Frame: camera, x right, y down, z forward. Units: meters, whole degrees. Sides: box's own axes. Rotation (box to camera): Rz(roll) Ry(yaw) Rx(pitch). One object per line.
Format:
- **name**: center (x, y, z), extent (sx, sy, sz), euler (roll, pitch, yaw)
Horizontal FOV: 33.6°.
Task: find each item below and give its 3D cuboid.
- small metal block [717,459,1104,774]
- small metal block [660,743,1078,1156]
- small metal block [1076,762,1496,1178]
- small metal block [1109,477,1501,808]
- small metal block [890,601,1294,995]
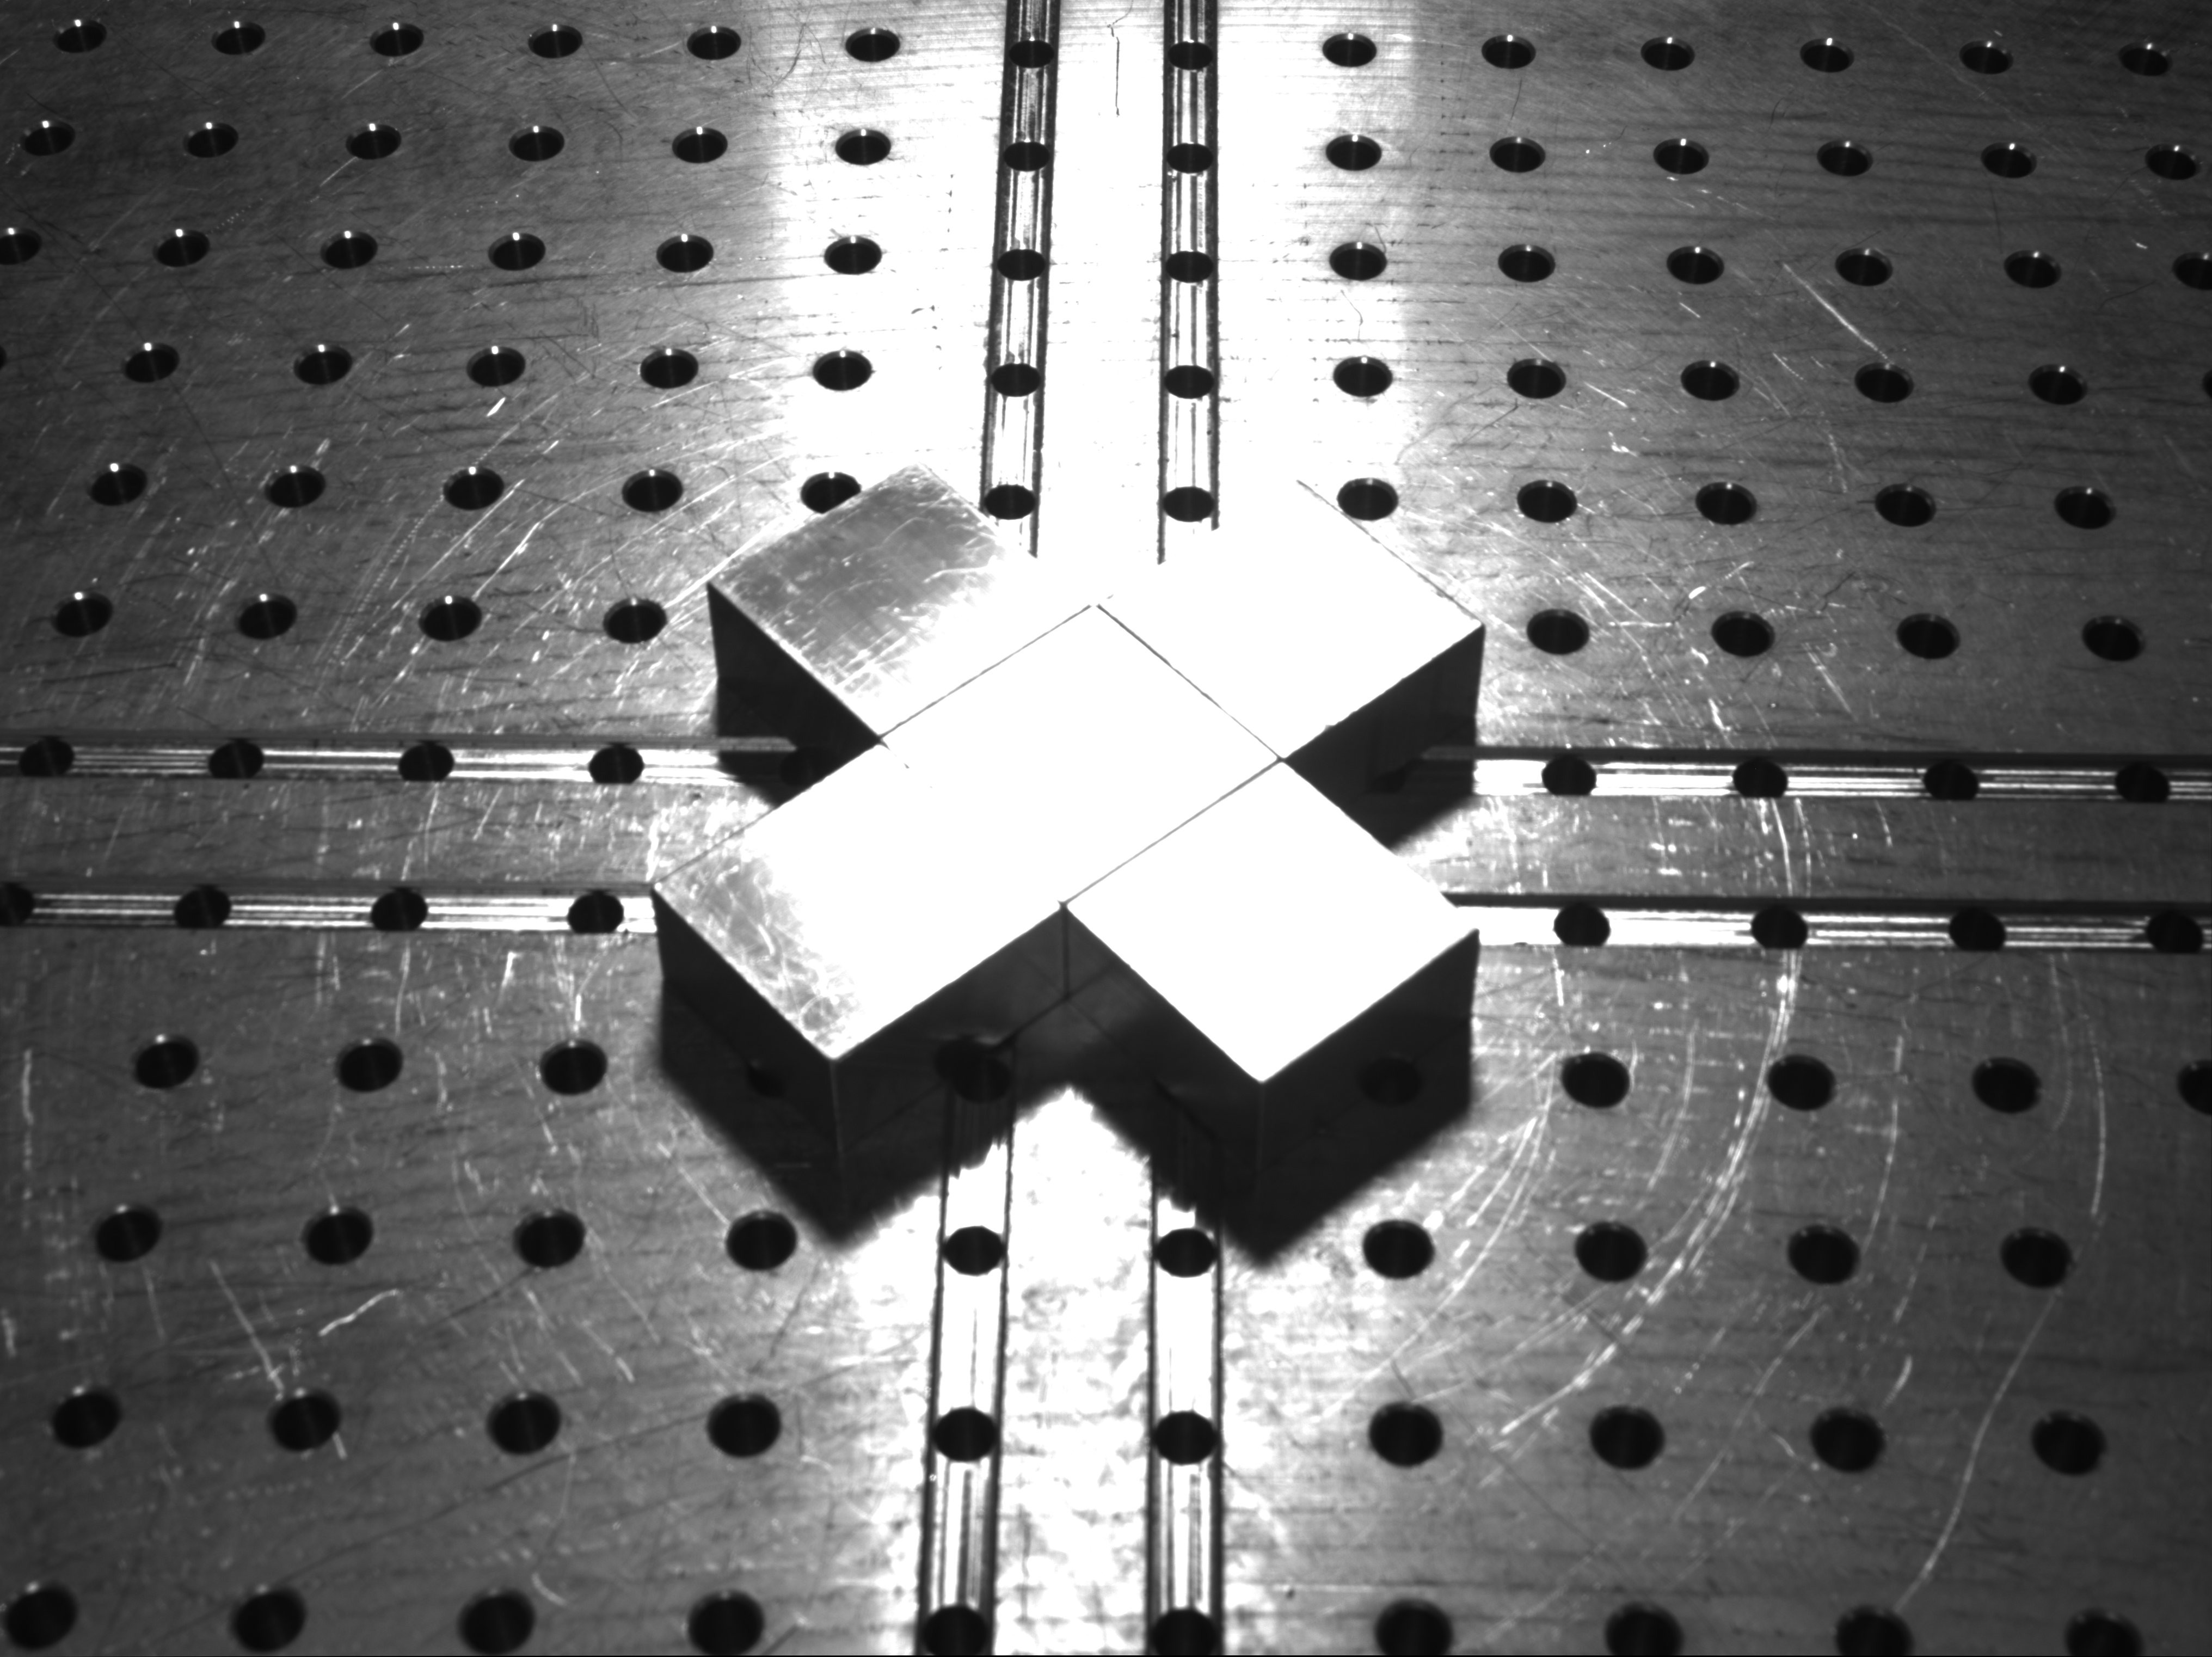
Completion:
- **small metal block**: center (-0.036, -0.034, 0.674), extent (0.050, 0.025, 0.050), euler (-33, 57, -25)
- **small metal block**: center (-0.040, 0.020, 0.628), extent (0.050, 0.025, 0.050), euler (-34, 57, -25)
- **small metal block**: center (0.030, 0.023, 0.625), extent (0.050, 0.025, 0.050), euler (-33, 57, -25)
- **small metal block**: center (0.036, -0.031, 0.670), extent (0.050, 0.025, 0.050), euler (-34, 57, -25)
- **small metal block**: center (-0.003, -0.006, 0.649), extent (0.050, 0.025, 0.050), euler (-34, 57, -25)
